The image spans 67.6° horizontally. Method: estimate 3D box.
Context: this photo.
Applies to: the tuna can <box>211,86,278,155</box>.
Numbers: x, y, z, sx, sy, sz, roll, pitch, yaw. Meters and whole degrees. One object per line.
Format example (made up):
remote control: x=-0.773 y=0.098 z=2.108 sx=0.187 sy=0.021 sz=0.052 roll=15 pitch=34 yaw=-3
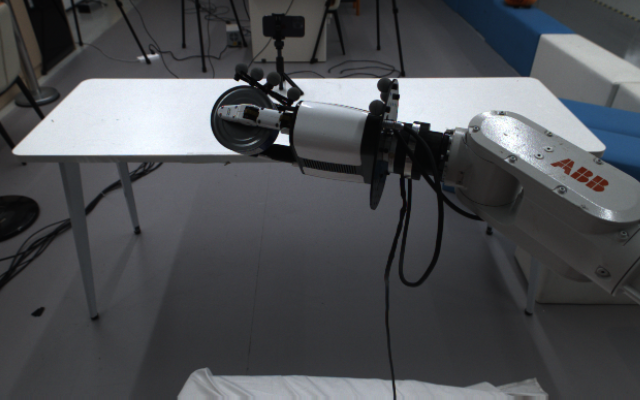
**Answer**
tuna can: x=-0.095 y=-0.102 z=0.629 sx=0.085 sy=0.085 sz=0.034 roll=10 pitch=-4 yaw=11
